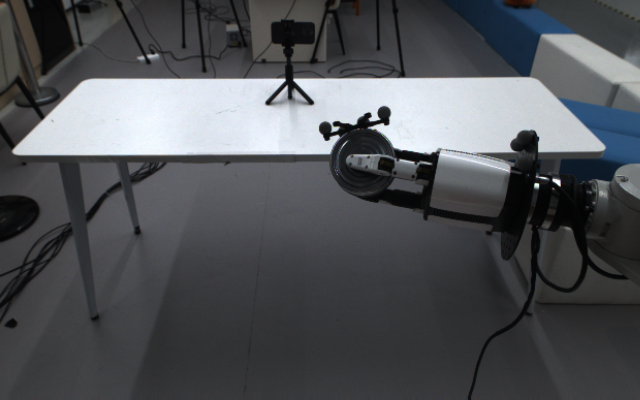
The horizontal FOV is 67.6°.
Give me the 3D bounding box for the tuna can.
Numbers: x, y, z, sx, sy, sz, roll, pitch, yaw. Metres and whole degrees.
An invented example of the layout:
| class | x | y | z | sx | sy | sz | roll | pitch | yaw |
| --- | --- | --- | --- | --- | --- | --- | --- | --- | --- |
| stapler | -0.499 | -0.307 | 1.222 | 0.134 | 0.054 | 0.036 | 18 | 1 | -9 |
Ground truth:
| class | x | y | z | sx | sy | sz | roll | pitch | yaw |
| --- | --- | --- | --- | --- | --- | --- | --- | --- | --- |
| tuna can | 0.060 | -0.043 | 0.623 | 0.085 | 0.085 | 0.034 | 12 | -6 | 15 |
